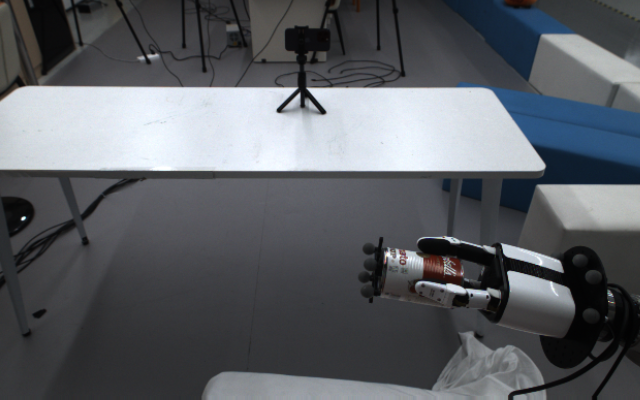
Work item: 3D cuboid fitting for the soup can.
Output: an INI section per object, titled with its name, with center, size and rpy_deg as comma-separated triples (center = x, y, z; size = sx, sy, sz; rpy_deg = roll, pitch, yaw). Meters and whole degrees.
[soup can]
center = 0.131, 0.101, 0.635
size = 0.101, 0.067, 0.067
rpy_deg = 9, 35, 0
